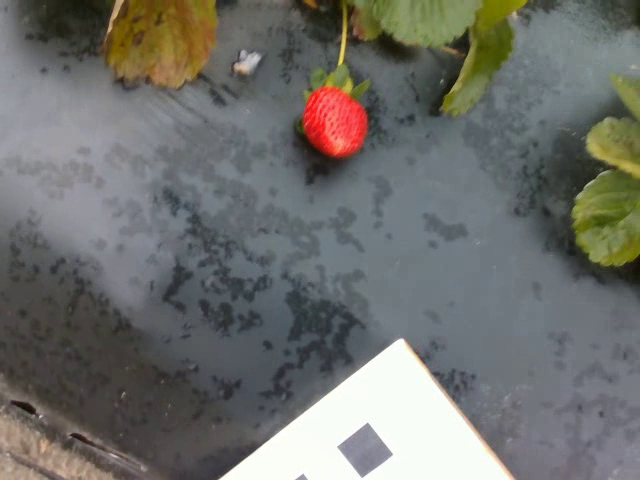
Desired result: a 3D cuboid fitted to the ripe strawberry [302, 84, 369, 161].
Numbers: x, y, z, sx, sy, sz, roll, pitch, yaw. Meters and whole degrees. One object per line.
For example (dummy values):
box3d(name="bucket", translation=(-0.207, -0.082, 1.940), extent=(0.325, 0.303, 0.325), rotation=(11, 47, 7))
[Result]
box3d(name="ripe strawberry", translation=(0.009, -0.067, 0.389), extent=(0.045, 0.054, 0.048), rotation=(0, -43, 7))
